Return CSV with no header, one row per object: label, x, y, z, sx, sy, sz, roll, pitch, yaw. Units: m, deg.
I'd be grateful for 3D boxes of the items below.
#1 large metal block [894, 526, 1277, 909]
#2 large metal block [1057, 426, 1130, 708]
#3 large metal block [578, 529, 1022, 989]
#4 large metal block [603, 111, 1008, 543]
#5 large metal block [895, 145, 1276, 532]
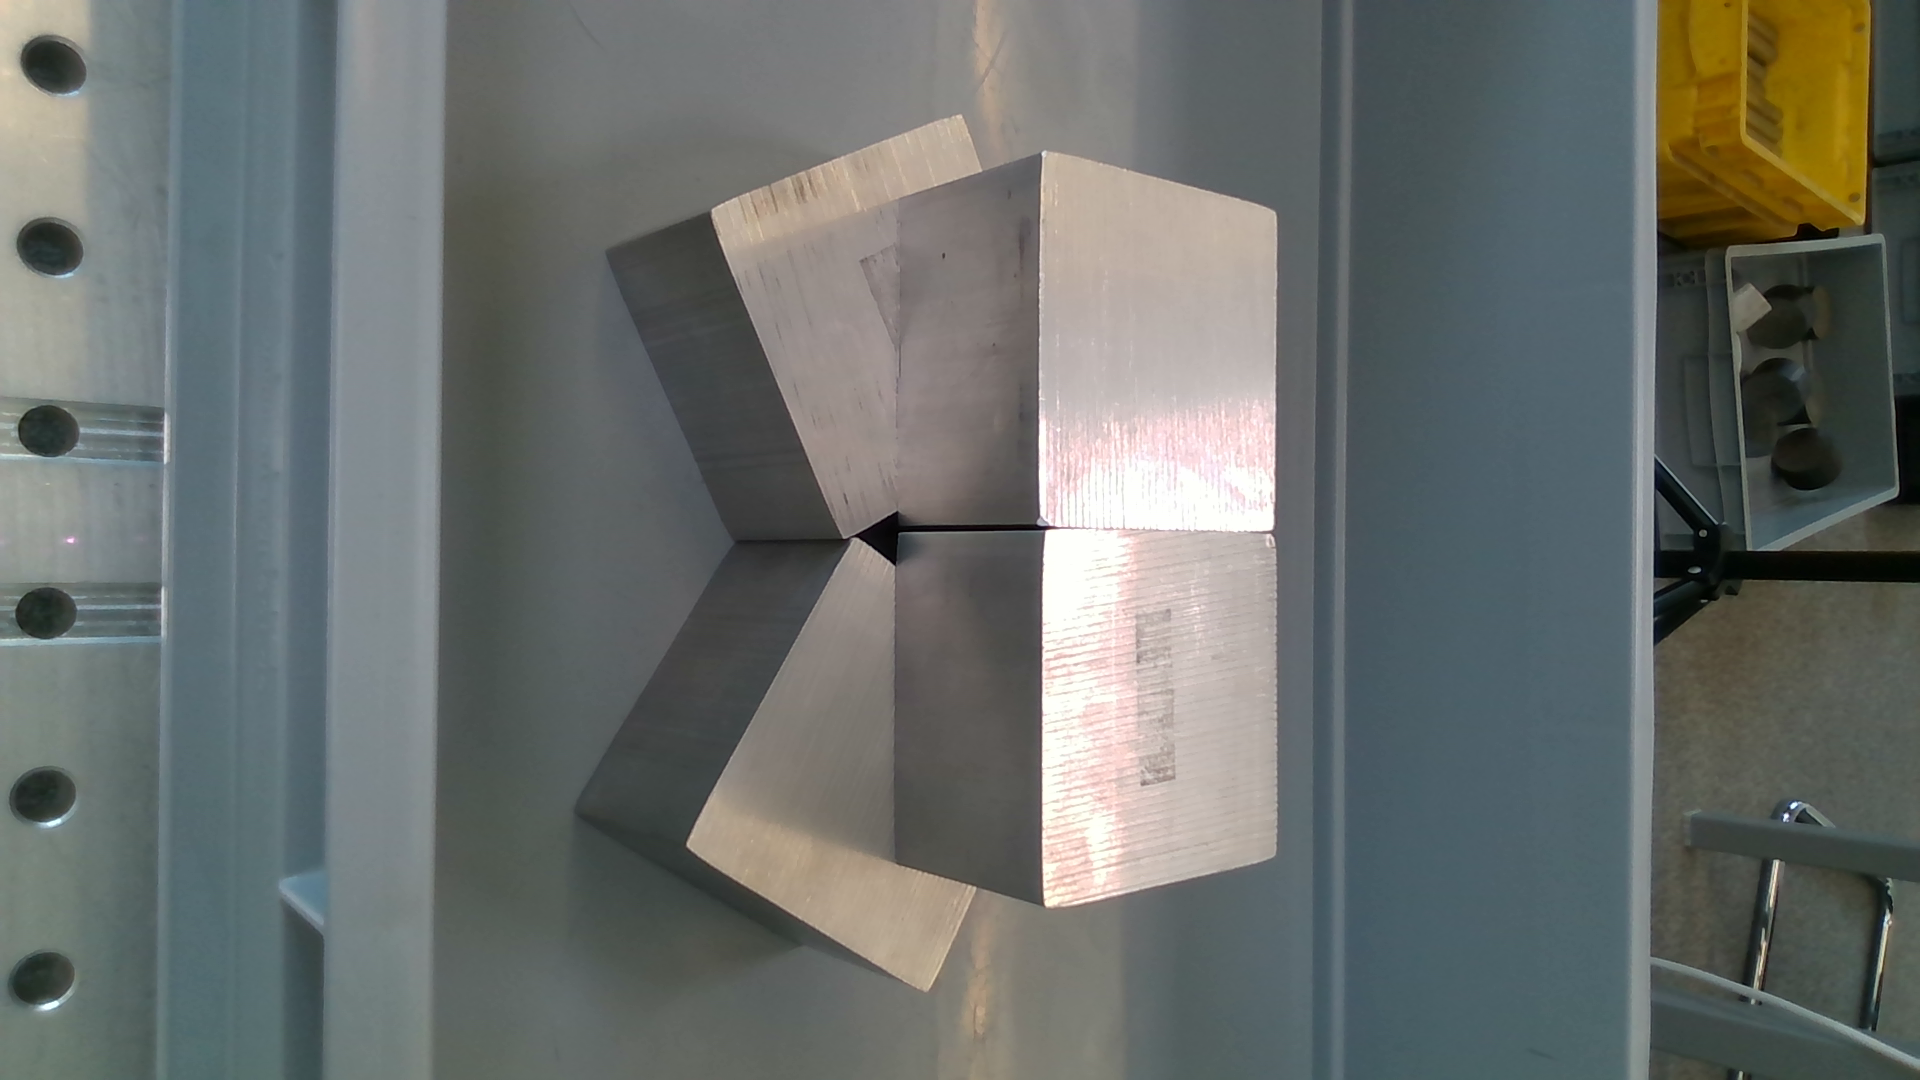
large metal block,0.031,0.038,0.333,0.080,0.050,0.080,1,89,-40
large metal block,0.040,0.006,0.407,0.080,0.050,0.080,2,89,-40
large metal block,-0.033,0.053,0.345,0.080,0.050,0.080,41,64,-32
large metal block,-0.029,-0.053,0.349,0.080,0.050,0.080,-33,111,-35
large metal block,0.031,-0.042,0.334,0.080,0.050,0.080,1,89,-40
